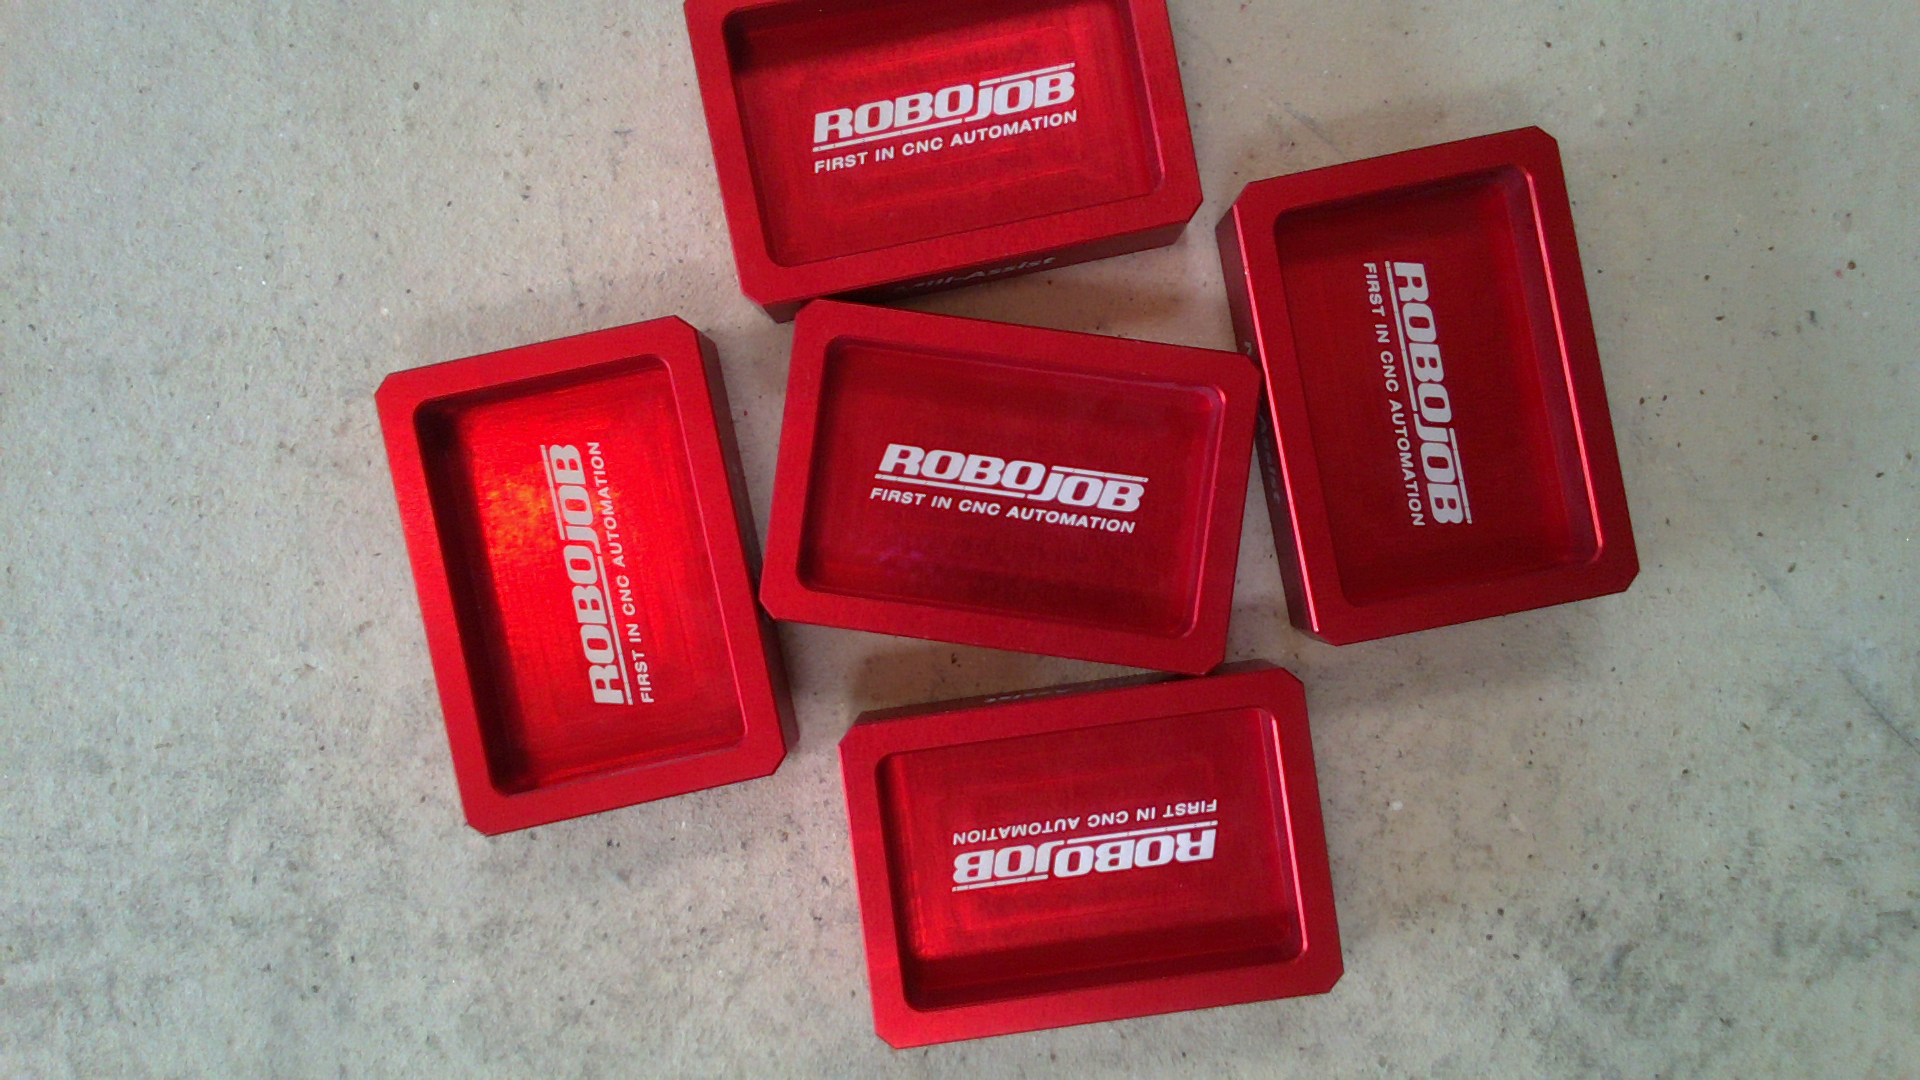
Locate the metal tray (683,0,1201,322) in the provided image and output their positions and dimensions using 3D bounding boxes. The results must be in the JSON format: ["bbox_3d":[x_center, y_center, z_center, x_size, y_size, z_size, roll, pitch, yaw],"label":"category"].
[{"bbox_3d":[-0.005,-0.120,0.393,0.130,0.030,0.090,-11,90,0],"label":"metal tray"}]

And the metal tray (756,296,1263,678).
[{"bbox_3d":[0.014,-0.015,0.393,0.130,0.030,0.090,8,92,0],"label":"metal tray"}]

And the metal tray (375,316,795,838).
[{"bbox_3d":[-0.104,0.010,0.393,0.090,0.030,0.130,-12,91,0],"label":"metal tray"}]

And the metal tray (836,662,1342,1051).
[{"bbox_3d":[0.036,0.088,0.393,0.130,0.030,0.090,-8,90,0],"label":"metal tray"}]

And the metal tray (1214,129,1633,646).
[{"bbox_3d":[0.131,-0.042,0.394,0.090,0.030,0.130,-11,91,1],"label":"metal tray"}]
